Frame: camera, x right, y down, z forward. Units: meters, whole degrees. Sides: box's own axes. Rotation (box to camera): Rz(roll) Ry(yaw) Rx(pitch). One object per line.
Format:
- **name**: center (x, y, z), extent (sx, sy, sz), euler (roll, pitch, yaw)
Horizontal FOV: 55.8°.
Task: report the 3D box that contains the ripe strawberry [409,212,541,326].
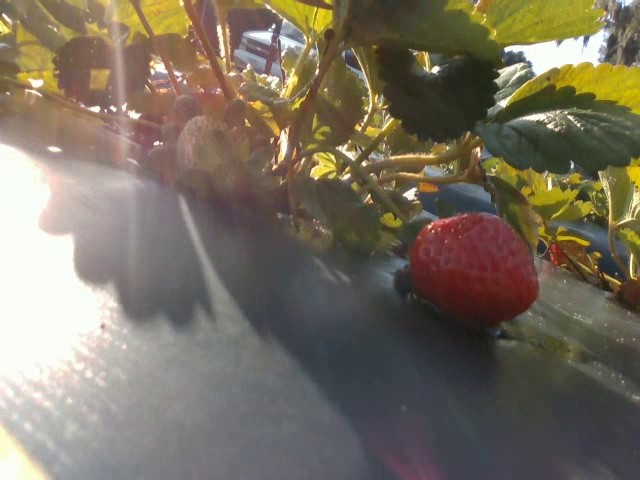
- **ripe strawberry**: center (0.039, 0.008, 0.138), extent (0.030, 0.033, 0.045), euler (-23, 15, -5)
